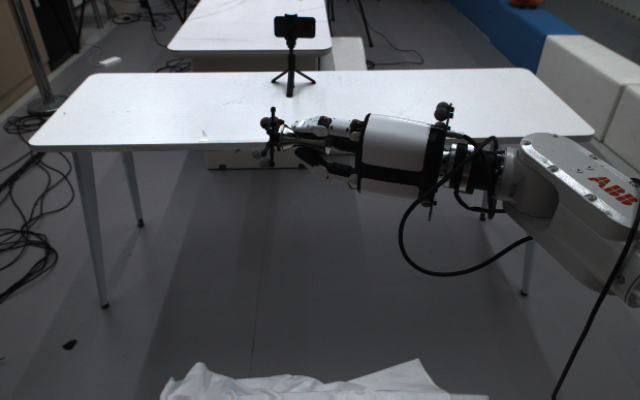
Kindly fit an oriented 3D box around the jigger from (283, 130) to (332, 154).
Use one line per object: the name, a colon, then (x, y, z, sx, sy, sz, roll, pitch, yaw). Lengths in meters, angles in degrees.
jigger: (-0.014, -0.091, 0.699, 0.071, 0.043, 0.043, 6, 35, 12)
